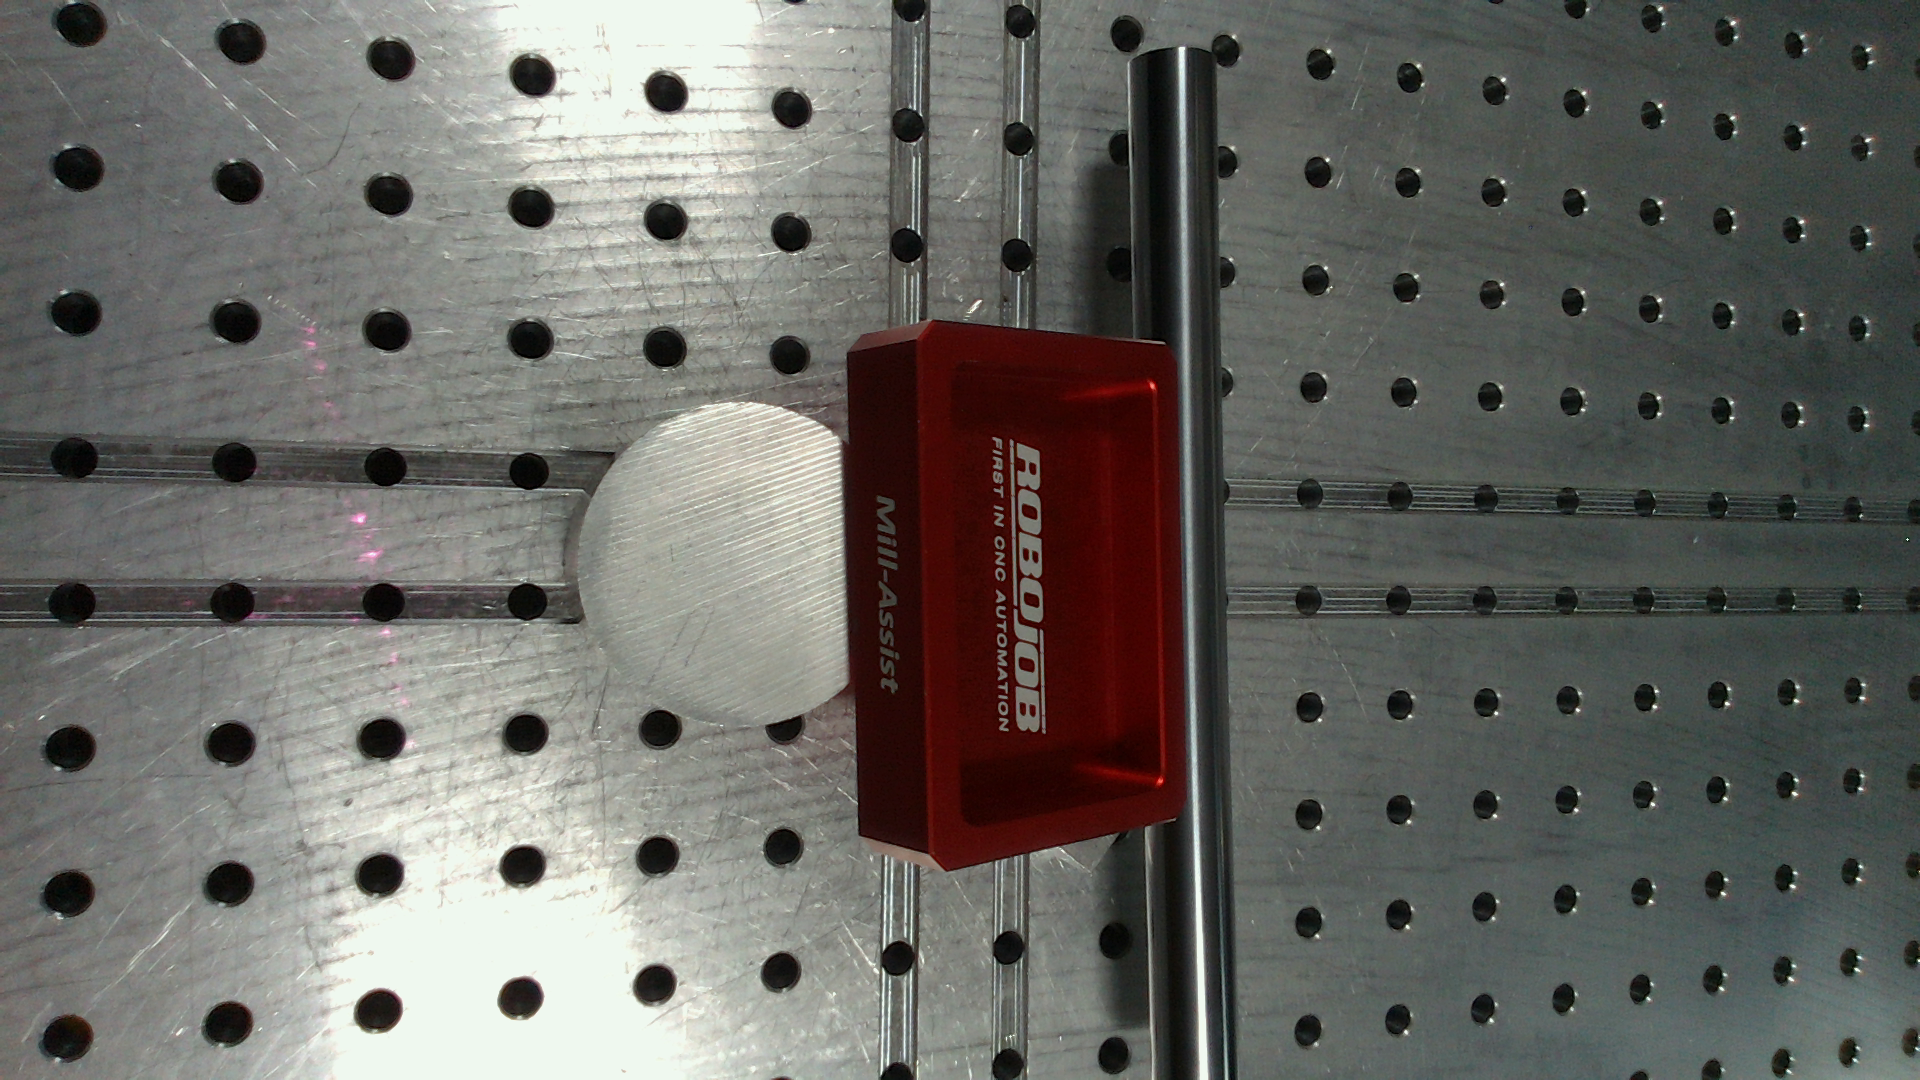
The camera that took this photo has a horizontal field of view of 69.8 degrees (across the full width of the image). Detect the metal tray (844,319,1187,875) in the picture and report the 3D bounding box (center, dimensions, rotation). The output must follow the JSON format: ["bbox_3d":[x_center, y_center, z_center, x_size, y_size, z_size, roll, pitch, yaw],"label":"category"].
[{"bbox_3d":[0.017,0.012,0.357,0.090,0.030,0.130,-2,91,-39],"label":"metal tray"}]

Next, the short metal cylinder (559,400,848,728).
[{"bbox_3d":[-0.062,0.006,0.359,0.080,0.050,0.080,0,90,-20],"label":"short metal cylinder"}]

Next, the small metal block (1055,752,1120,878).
[{"bbox_3d":[0.030,0.062,0.406,0.050,0.025,0.050,41,77,-15],"label":"small metal block"}]

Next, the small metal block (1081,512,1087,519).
[{"bbox_3d":[0.039,-0.026,0.410,0.050,0.025,0.050,-16,96,-19],"label":"small metal block"}]

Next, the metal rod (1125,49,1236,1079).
[{"bbox_3d":[0.063,0.015,0.392,0.025,0.025,0.300,-2,91,-20],"label":"metal rod"}]
